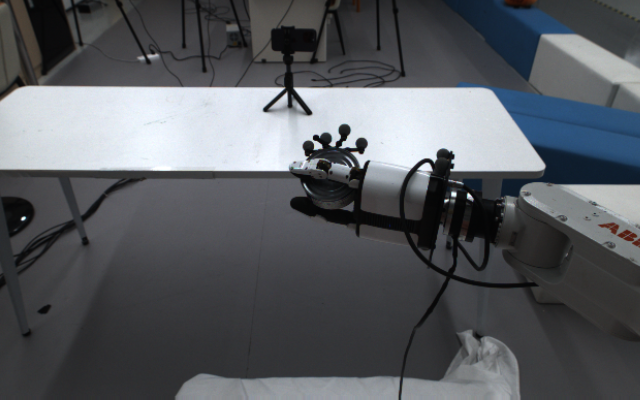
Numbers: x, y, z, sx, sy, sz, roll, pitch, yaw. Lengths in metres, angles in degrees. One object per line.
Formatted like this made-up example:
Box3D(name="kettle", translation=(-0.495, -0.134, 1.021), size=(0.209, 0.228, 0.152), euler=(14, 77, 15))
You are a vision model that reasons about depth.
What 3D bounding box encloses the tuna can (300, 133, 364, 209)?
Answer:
Box3D(name="tuna can", translation=(0.017, -0.030, 0.687), size=(0.085, 0.034, 0.085), euler=(-6, 61, 10))
